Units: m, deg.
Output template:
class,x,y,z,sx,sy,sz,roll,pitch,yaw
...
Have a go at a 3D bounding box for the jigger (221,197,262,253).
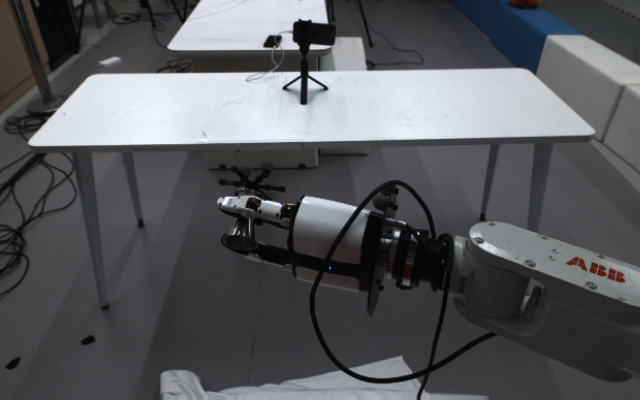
class,x,y,z,sx,sy,sz,roll,pitch,yaw
jigger,-0.099,0.024,0.620,0.043,0.043,0.071,6,60,5
